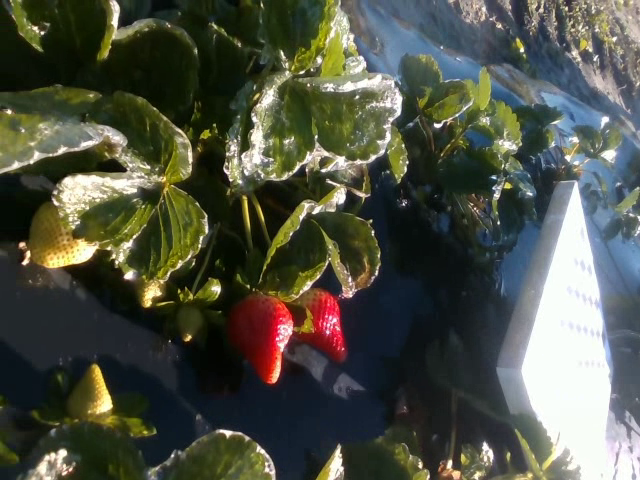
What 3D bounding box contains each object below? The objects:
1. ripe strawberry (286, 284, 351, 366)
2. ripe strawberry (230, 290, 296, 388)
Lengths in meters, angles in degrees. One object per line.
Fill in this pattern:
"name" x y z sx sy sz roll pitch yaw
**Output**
"ripe strawberry" 0.005 0.061 0.449 0.040 0.059 0.044 -8 29 39
"ripe strawberry" -0.033 0.069 0.412 0.040 0.070 0.052 -9 -17 28
